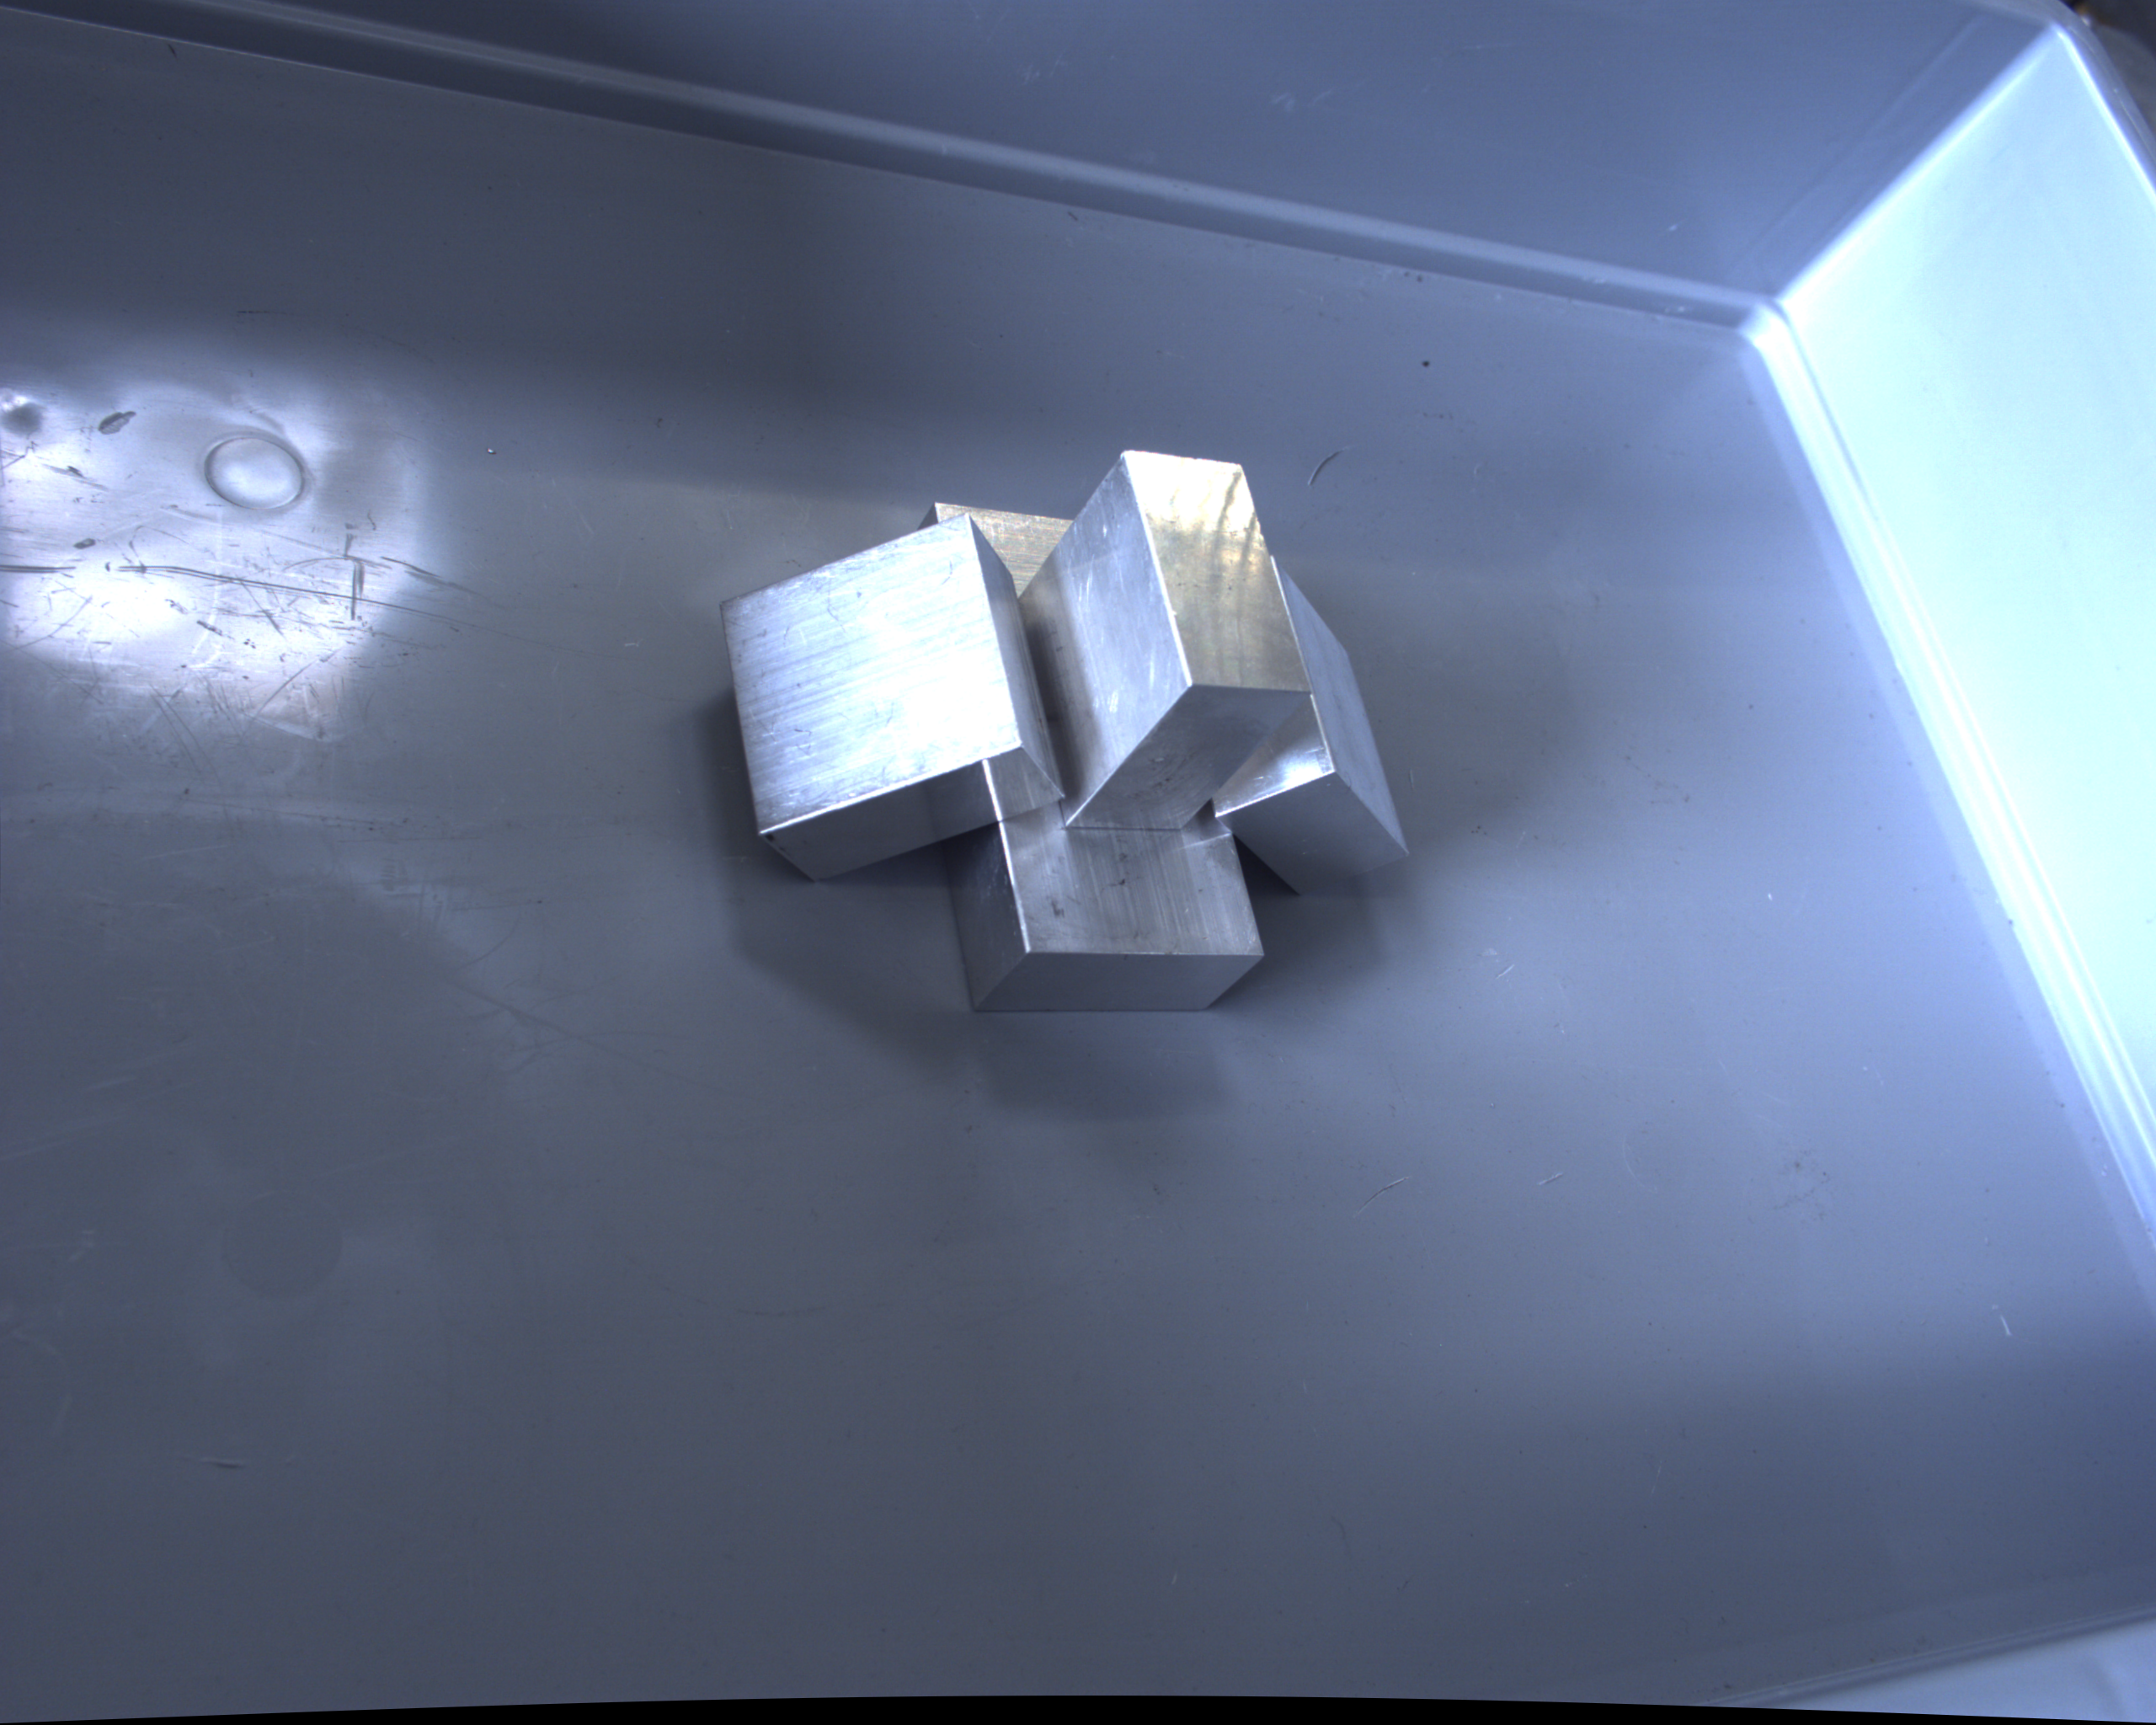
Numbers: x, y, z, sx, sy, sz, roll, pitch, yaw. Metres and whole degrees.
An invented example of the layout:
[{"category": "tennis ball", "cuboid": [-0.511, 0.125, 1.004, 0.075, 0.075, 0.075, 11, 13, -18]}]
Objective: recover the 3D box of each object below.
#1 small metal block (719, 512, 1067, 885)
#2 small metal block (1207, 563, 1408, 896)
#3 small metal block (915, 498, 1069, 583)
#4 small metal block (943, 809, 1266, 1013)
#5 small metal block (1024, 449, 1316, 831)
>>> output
[{"category": "small metal block", "cuboid": [-0.035, -0.030, 0.385, 0.050, 0.025, 0.050, -18, 65, 11]}, {"category": "small metal block", "cuboid": [0.042, -0.027, 0.427, 0.050, 0.025, 0.050, 37, 37, -58]}, {"category": "small metal block", "cuboid": [-0.007, -0.044, 0.425, 0.050, 0.025, 0.050, 3, 61, -28]}, {"category": "small metal block", "cuboid": [0.003, 0.001, 0.404, 0.050, 0.025, 0.050, 2, 61, -27]}, {"category": "small metal block", "cuboid": [0.014, -0.040, 0.386, 0.025, 0.050, 0.050, 1, 61, -29]}]
